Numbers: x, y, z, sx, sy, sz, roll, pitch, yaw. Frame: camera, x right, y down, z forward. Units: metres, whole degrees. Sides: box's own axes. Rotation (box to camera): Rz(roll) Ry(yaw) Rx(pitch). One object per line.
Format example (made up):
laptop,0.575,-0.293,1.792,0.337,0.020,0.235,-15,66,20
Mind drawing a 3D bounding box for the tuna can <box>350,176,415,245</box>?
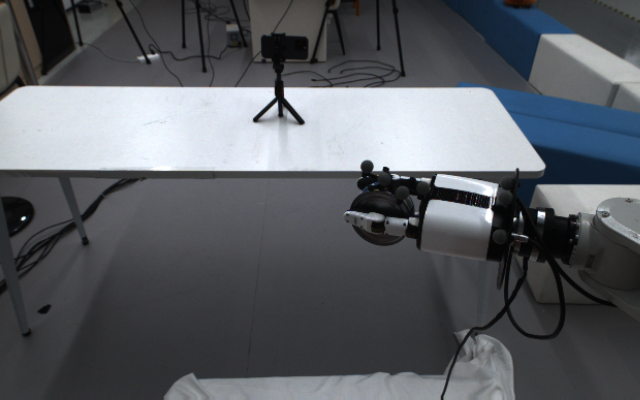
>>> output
tuna can,0.090,0.017,0.672,0.085,0.085,0.034,16,29,19
